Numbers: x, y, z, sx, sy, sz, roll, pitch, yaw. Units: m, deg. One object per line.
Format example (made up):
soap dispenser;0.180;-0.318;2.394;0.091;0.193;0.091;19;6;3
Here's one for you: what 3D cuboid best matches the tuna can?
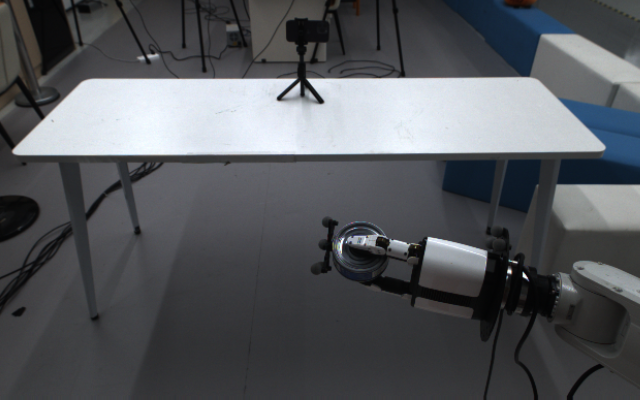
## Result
tuna can;0.063;0.078;0.711;0.085;0.034;0.085;-2;57;3
